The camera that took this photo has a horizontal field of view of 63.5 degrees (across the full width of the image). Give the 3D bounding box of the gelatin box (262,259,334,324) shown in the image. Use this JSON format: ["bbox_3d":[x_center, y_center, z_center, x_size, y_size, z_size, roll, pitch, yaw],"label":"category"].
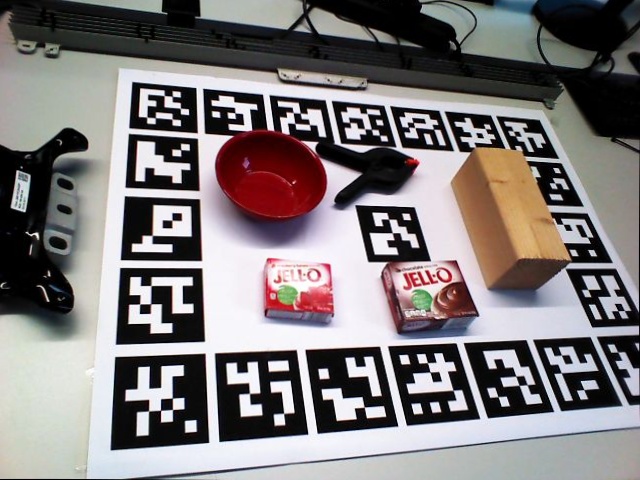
[{"bbox_3d":[-0.028,0.065,0.663,0.089,0.030,0.073,8,58,-12],"label":"gelatin box"}]

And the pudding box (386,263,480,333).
[{"bbox_3d":[0.153,0.078,0.706,0.114,0.039,0.089,-1,62,-15],"label":"pudding box"}]

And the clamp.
[{"bbox_3d":[0.073,-0.109,0.815,0.164,0.037,0.121,-8,60,-24],"label":"clamp"}]

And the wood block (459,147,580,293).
[{"bbox_3d":[0.296,-0.031,0.788,0.090,0.091,0.205,4,57,-16],"label":"wood block"}]

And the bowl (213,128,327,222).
[{"bbox_3d":[-0.074,-0.082,0.739,0.161,0.055,0.161,8,59,-13],"label":"bowl"}]
